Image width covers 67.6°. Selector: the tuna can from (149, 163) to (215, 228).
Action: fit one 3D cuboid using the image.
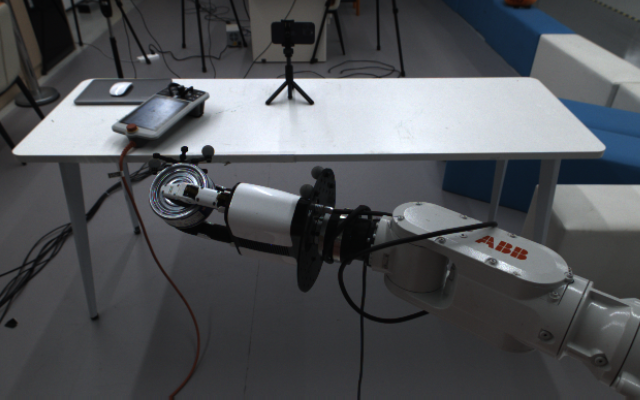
[{"bbox_3d":[-0.183,-0.001,0.654,0.085,0.034,0.085,-4,68,9],"label":"tuna can"}]
